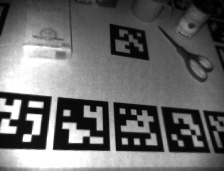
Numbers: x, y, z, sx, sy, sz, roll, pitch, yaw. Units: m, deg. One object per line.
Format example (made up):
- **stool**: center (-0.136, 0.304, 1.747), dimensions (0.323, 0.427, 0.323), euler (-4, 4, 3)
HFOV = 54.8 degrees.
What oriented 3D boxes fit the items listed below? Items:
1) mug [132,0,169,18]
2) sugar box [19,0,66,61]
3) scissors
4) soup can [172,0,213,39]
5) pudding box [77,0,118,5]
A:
- **mug**: center (0.111, -0.238, 0.601), dimensions (0.094, 0.081, 0.116), euler (-31, 76, -27)
- **sugar box**: center (-0.149, -0.141, 0.485), dimensions (0.093, 0.045, 0.175), euler (3, 65, -16)
- **scissors**: center (0.196, -0.094, 0.594), dimensions (0.088, 0.016, 0.202), euler (-39, 83, -21)
- **soup can**: center (0.224, -0.192, 0.615), dimensions (0.068, 0.102, 0.067), euler (8, 60, -13)
- **pudding box**: center (-0.030, -0.255, 0.551), dimensions (0.115, 0.089, 0.038), euler (-3, 71, -21)
